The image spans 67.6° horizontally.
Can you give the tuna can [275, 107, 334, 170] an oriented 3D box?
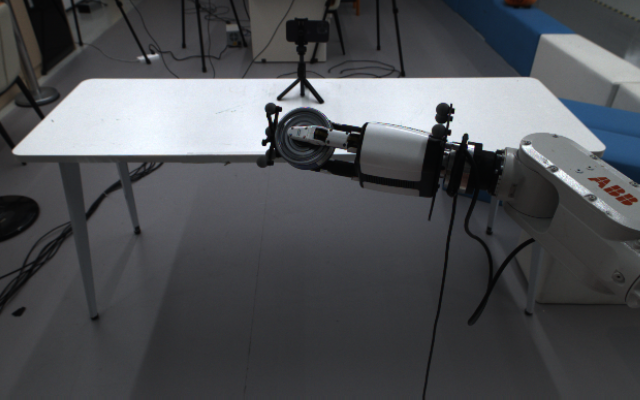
[{"bbox_3d":[-0.019,-0.089,0.693,0.085,0.085,0.034,10,-6,11],"label":"tuna can"}]
